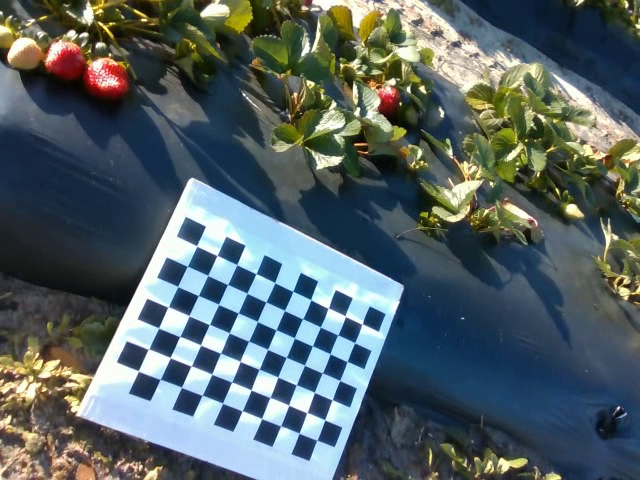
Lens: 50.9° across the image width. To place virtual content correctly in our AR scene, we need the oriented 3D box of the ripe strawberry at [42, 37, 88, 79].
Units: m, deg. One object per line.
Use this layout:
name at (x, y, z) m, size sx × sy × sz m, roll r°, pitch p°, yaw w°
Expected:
ripe strawberry at (-0.277, -0.197, 0.732) m, size 0.044 × 0.051 × 0.061 m, roll -33°, pitch 15°, yaw 23°

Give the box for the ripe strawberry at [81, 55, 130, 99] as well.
ripe strawberry at (-0.229, -0.176, 0.745) m, size 0.056 × 0.051 × 0.067 m, roll -28°, pitch 42°, yaw -23°
